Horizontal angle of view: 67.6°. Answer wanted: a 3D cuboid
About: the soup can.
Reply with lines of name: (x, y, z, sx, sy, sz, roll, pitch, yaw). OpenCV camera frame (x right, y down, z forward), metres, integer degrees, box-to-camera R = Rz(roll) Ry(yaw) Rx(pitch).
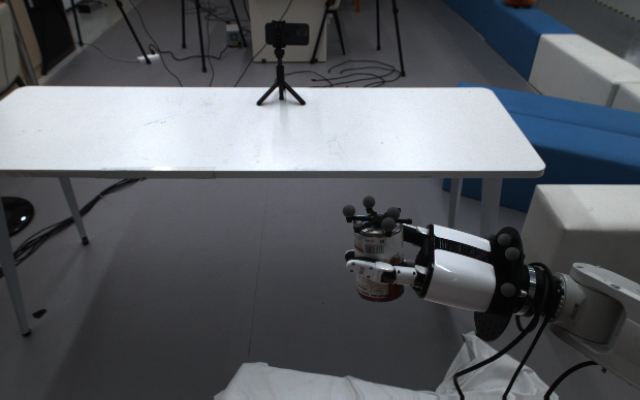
soup can: (0.083, 0.078, 0.661, 0.067, 0.101, 0.067, -4, 21, 1)
